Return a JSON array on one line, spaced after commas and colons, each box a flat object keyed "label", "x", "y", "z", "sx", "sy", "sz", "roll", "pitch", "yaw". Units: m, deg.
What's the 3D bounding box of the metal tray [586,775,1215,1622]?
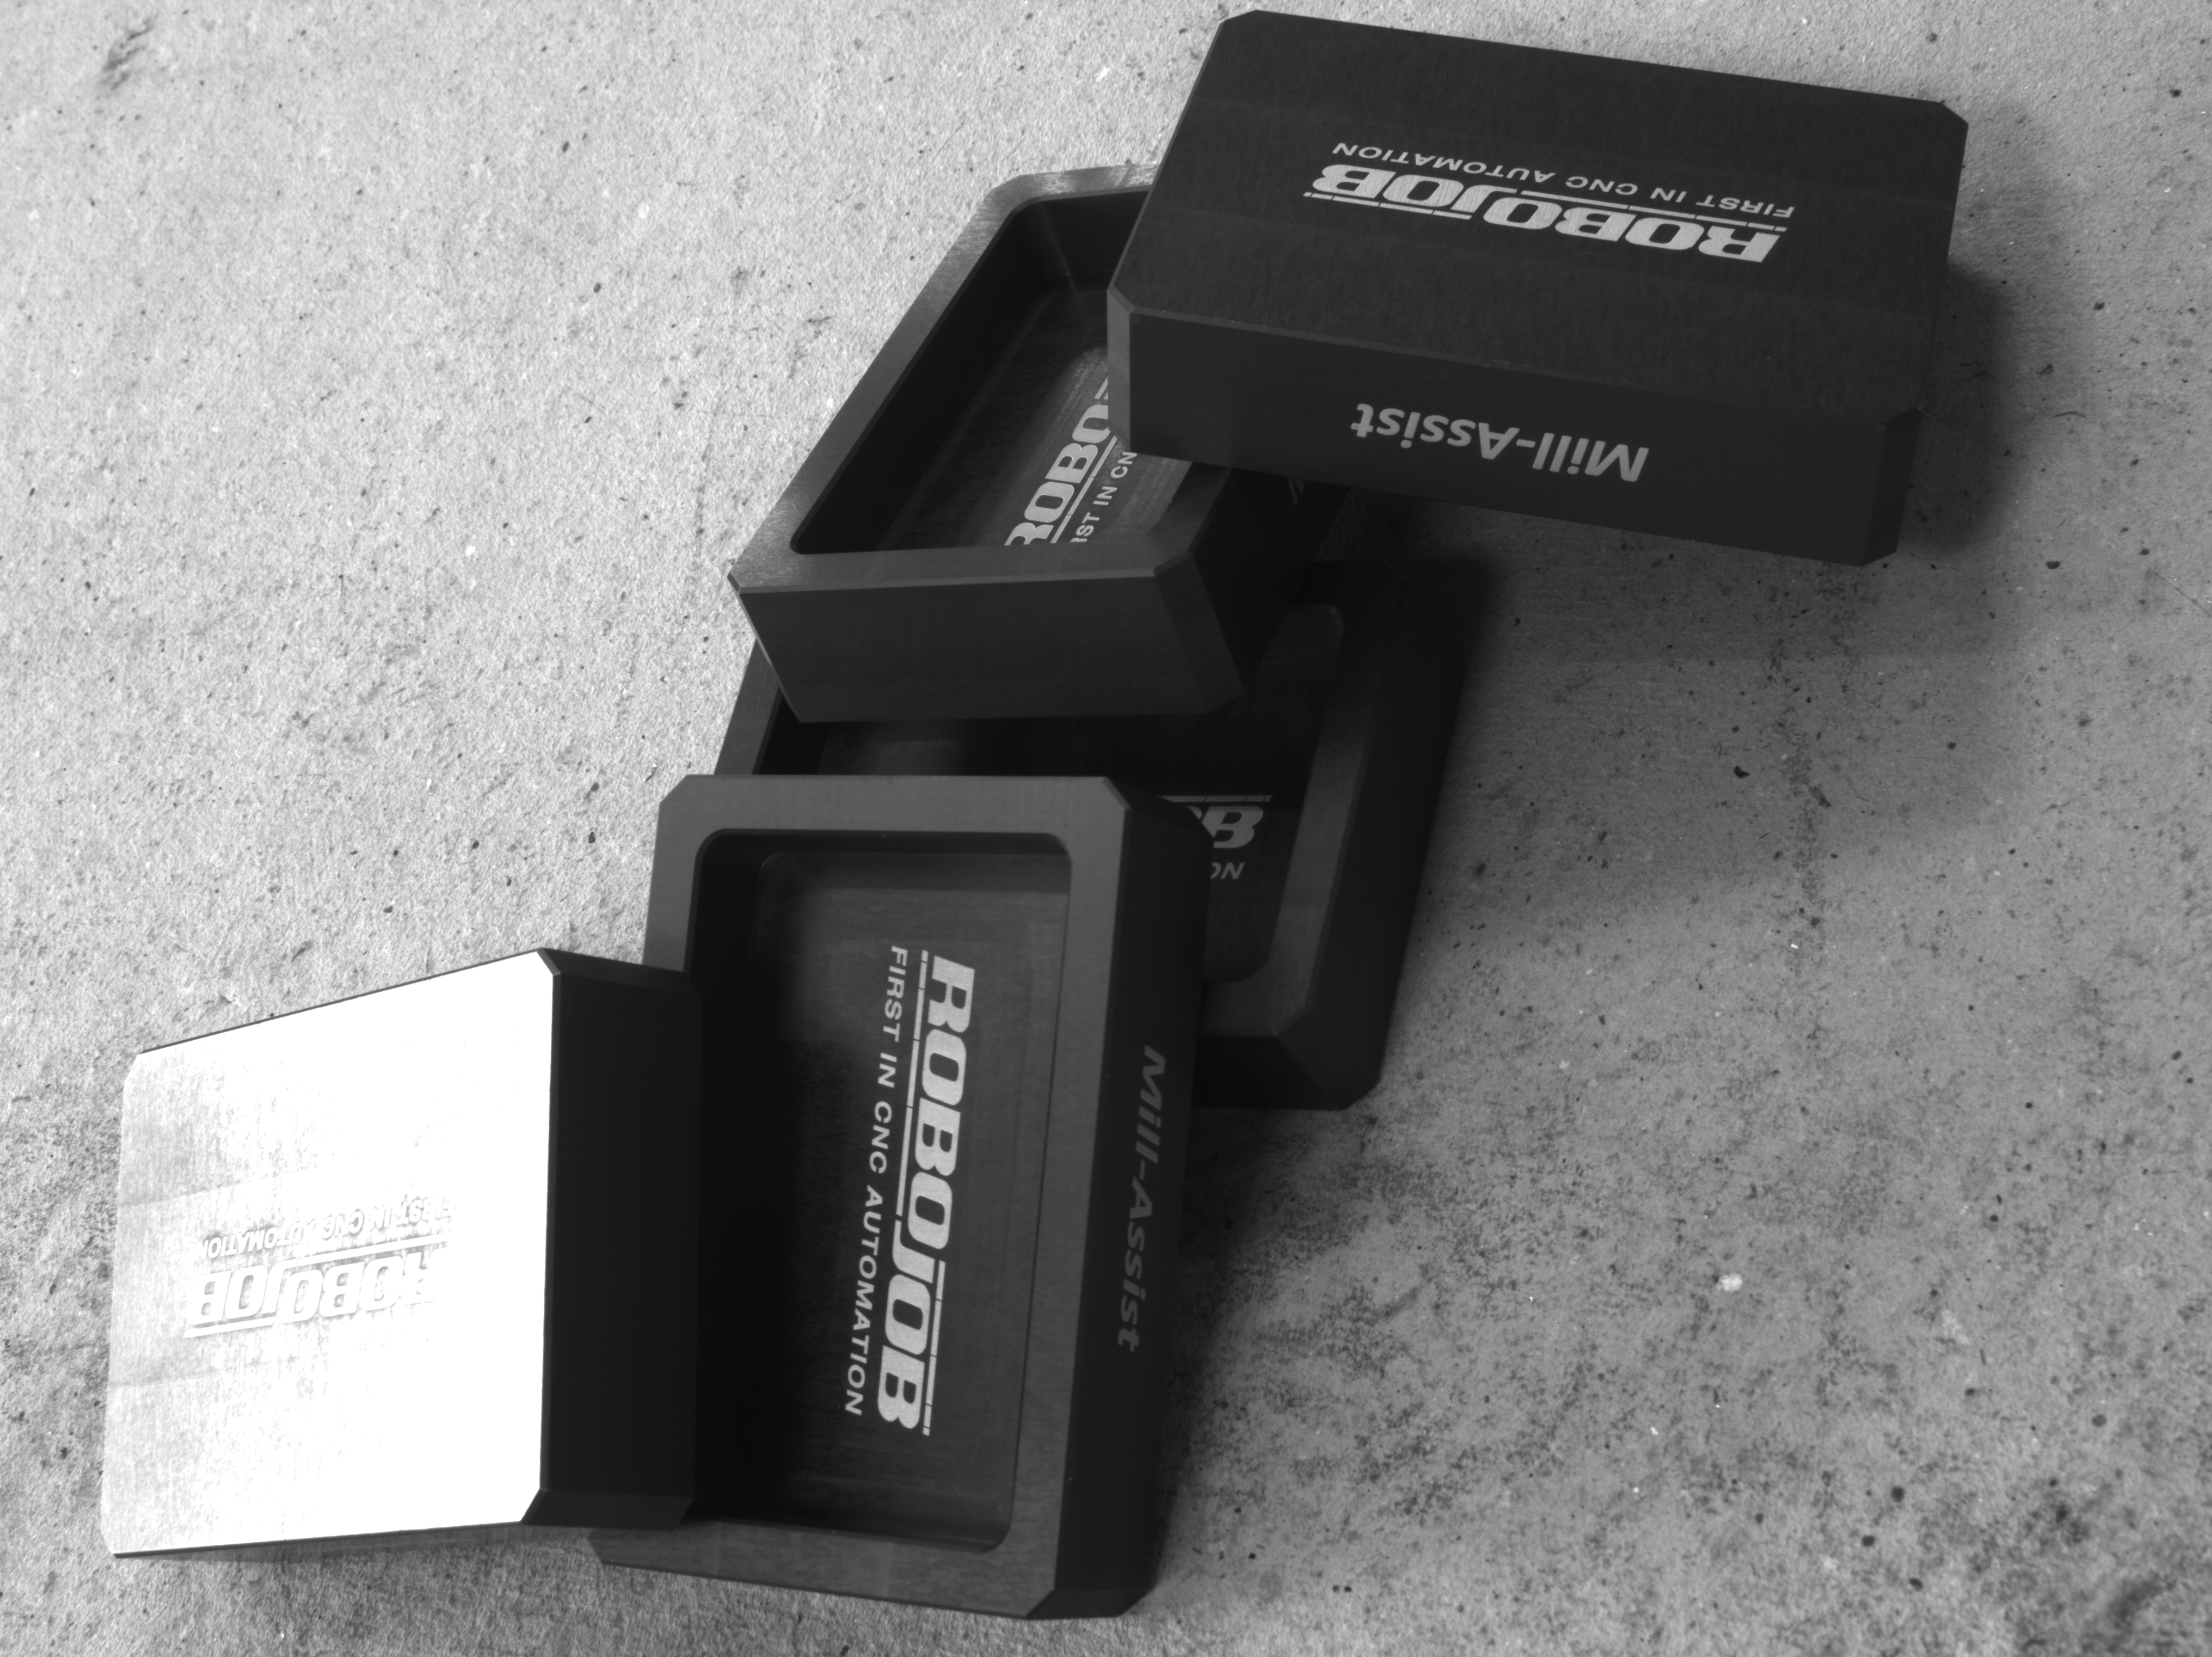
[{"label": "metal tray", "x": -0.034, "y": 0.058, "z": 0.599, "sx": 0.090, "sy": 0.030, "sz": 0.130, "roll": 1, "pitch": 81, "yaw": 29}]

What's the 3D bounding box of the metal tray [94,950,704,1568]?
[{"label": "metal tray", "x": -0.122, "y": 0.076, "z": 0.623, "sx": 0.130, "sy": 0.030, "sz": 0.090, "roll": -14, "pitch": 70, "yaw": 42}]

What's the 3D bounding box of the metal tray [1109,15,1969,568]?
[{"label": "metal tray", "x": 0.073, "y": -0.092, "z": 0.619, "sx": 0.130, "sy": 0.030, "sz": 0.090, "roll": 10, "pitch": 45, "yaw": 10}]

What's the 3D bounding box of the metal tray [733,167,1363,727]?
[{"label": "metal tray", "x": 0.001, "y": -0.072, "z": 0.660, "sx": 0.090, "sy": 0.030, "sz": 0.130, "roll": 0, "pitch": 42, "yaw": 28}]

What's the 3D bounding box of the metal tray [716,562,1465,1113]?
[{"label": "metal tray", "x": -0.009, "y": 0.001, "z": 0.647, "sx": 0.130, "sy": 0.030, "sz": 0.090, "roll": 0, "pitch": 62, "yaw": 28}]
